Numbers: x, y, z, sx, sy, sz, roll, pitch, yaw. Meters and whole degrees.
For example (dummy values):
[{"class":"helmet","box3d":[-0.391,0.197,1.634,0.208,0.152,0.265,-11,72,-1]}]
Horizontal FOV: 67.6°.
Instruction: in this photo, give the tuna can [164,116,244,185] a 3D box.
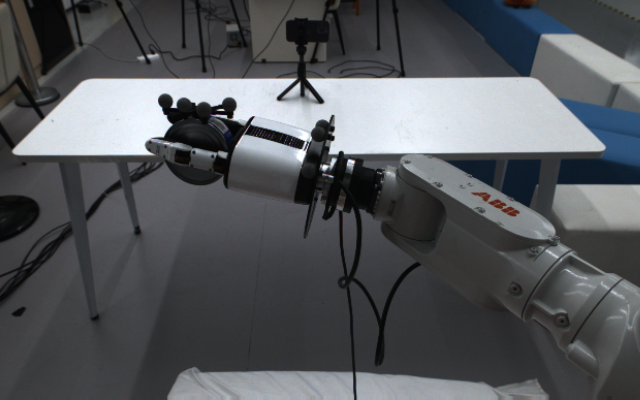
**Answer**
[{"class":"tuna can","box3d":[-0.150,-0.063,0.609,0.085,0.085,0.034,5,22,5]}]
